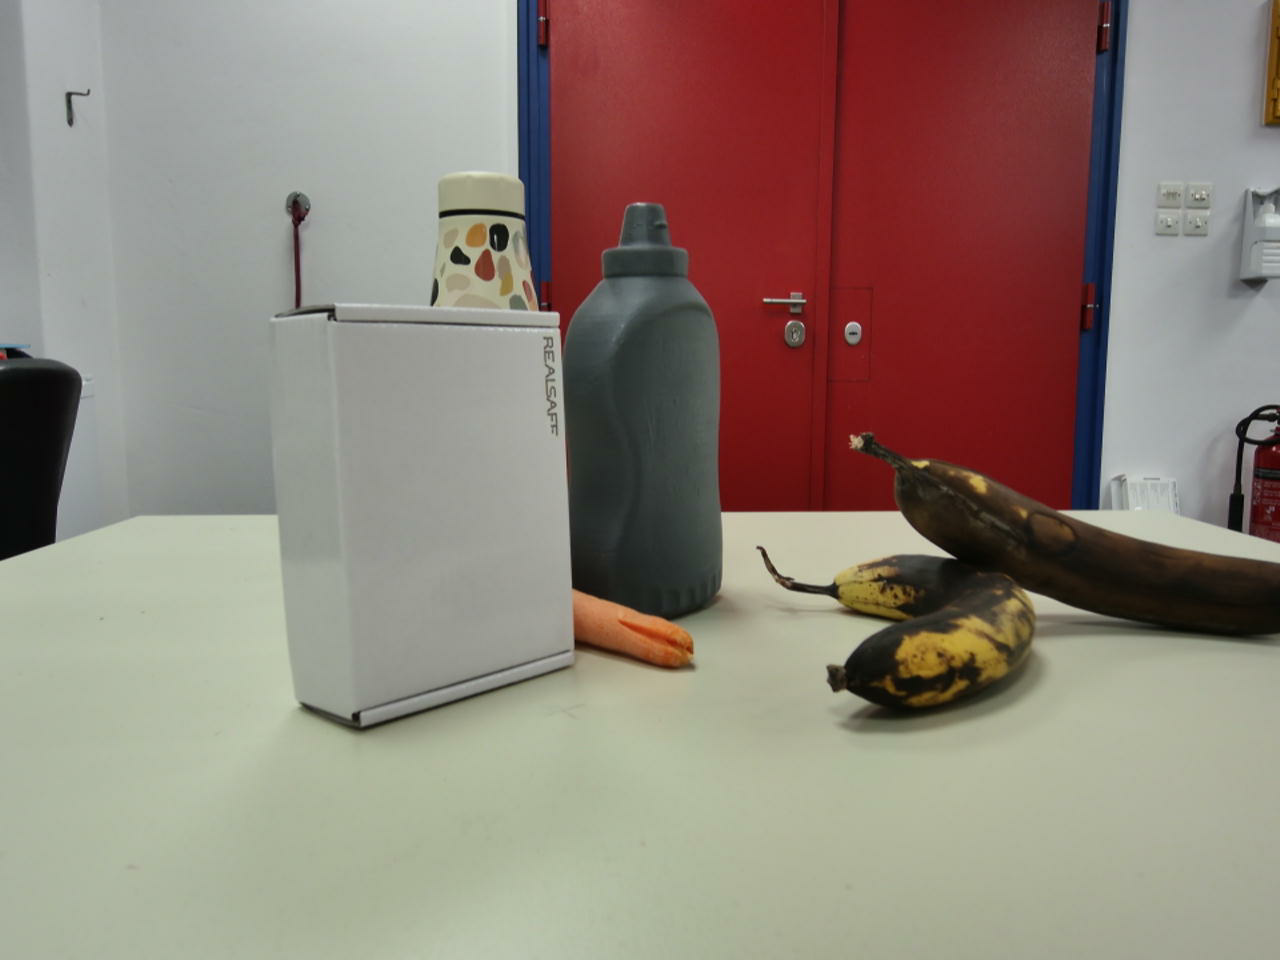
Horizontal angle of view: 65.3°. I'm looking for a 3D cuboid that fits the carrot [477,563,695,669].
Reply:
[{"bbox_3d":[-0.029,0.061,0.465,0.136,0.032,0.030,5,6,44],"label":"carrot"}]
